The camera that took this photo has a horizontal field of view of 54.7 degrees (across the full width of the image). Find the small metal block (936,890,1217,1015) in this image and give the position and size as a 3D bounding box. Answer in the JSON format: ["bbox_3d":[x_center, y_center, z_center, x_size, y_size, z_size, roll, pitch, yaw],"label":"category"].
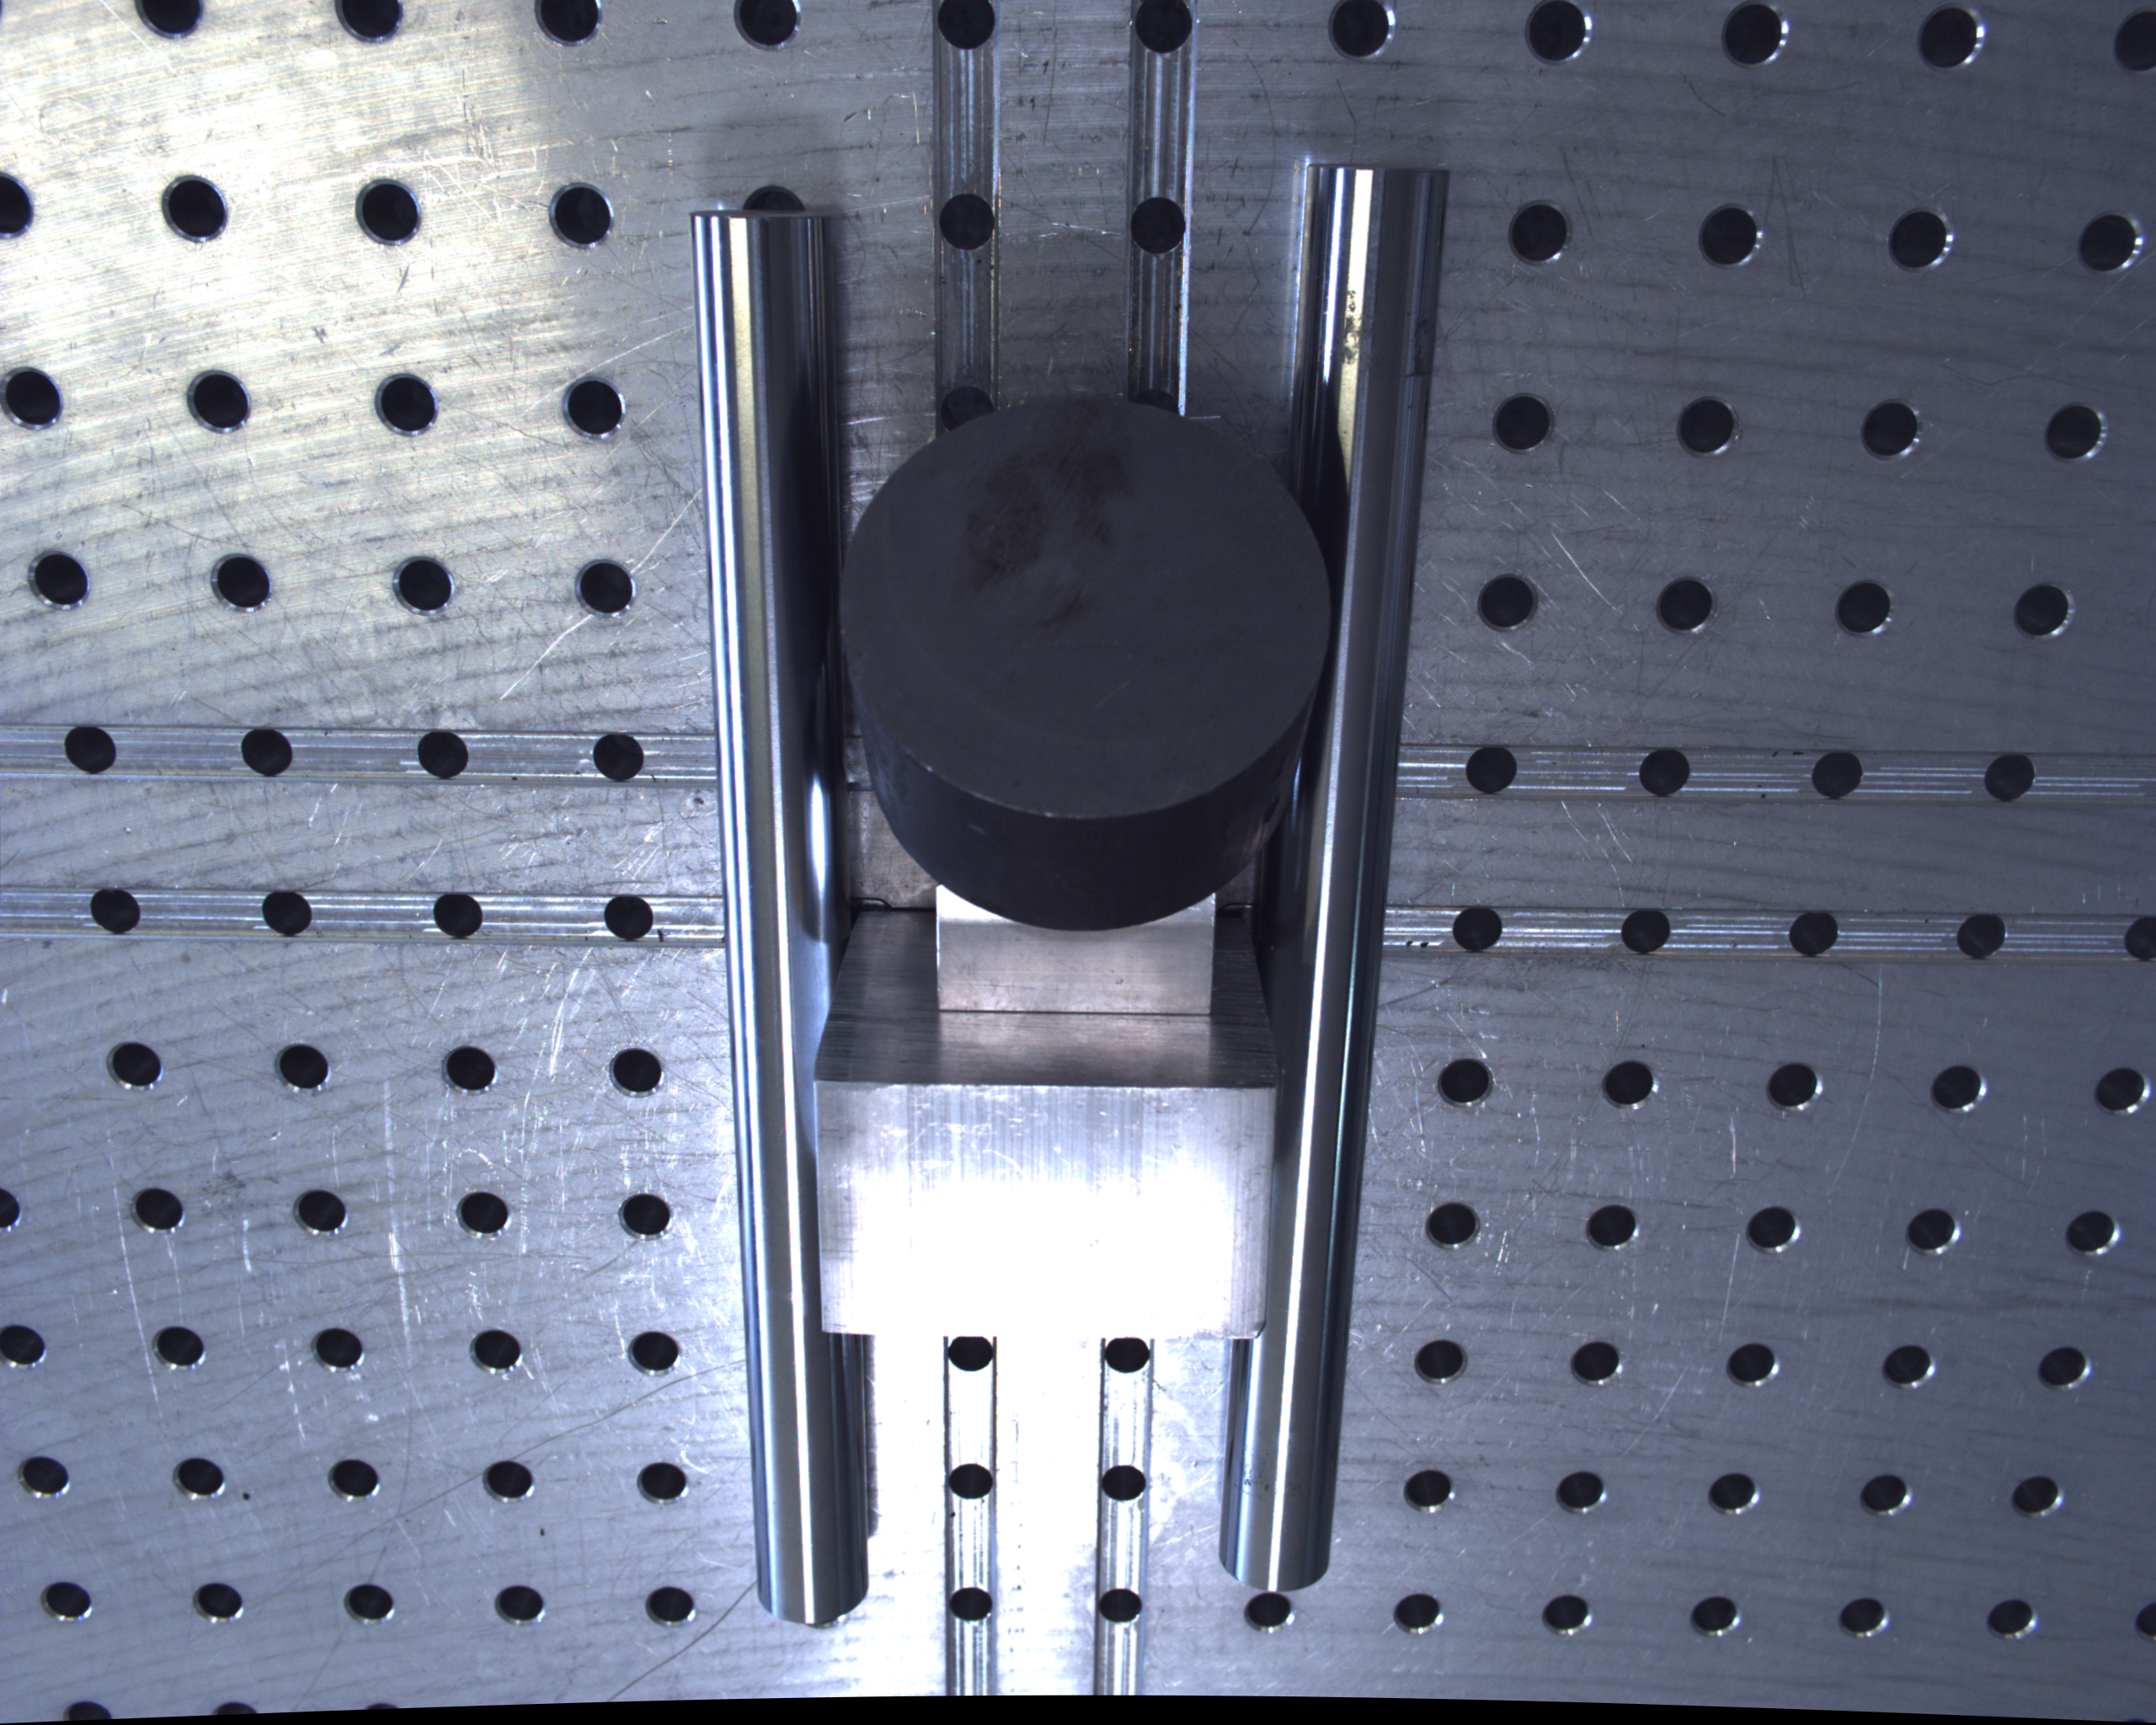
[{"bbox_3d":[-0.001,0.007,0.402,0.050,0.050,0.025,1,110,-1],"label":"small metal block"}]

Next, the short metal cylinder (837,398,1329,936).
[{"bbox_3d":[0.001,-0.033,0.365,0.081,0.050,0.080,1,66,-1],"label":"short metal cylinder"}]

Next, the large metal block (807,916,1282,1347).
[{"bbox_3d":[-0.006,0.049,0.399,0.081,0.080,0.050,1,110,-1],"label":"large metal block"}]

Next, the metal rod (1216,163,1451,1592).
[{"bbox_3d":[0.048,0.017,0.420,0.025,0.025,0.298,2,110,-1],"label":"metal rod"}]

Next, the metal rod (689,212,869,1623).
[{"bbox_3d":[-0.058,0.024,0.422,0.025,0.025,0.298,1,110,0],"label":"metal rod"}]
